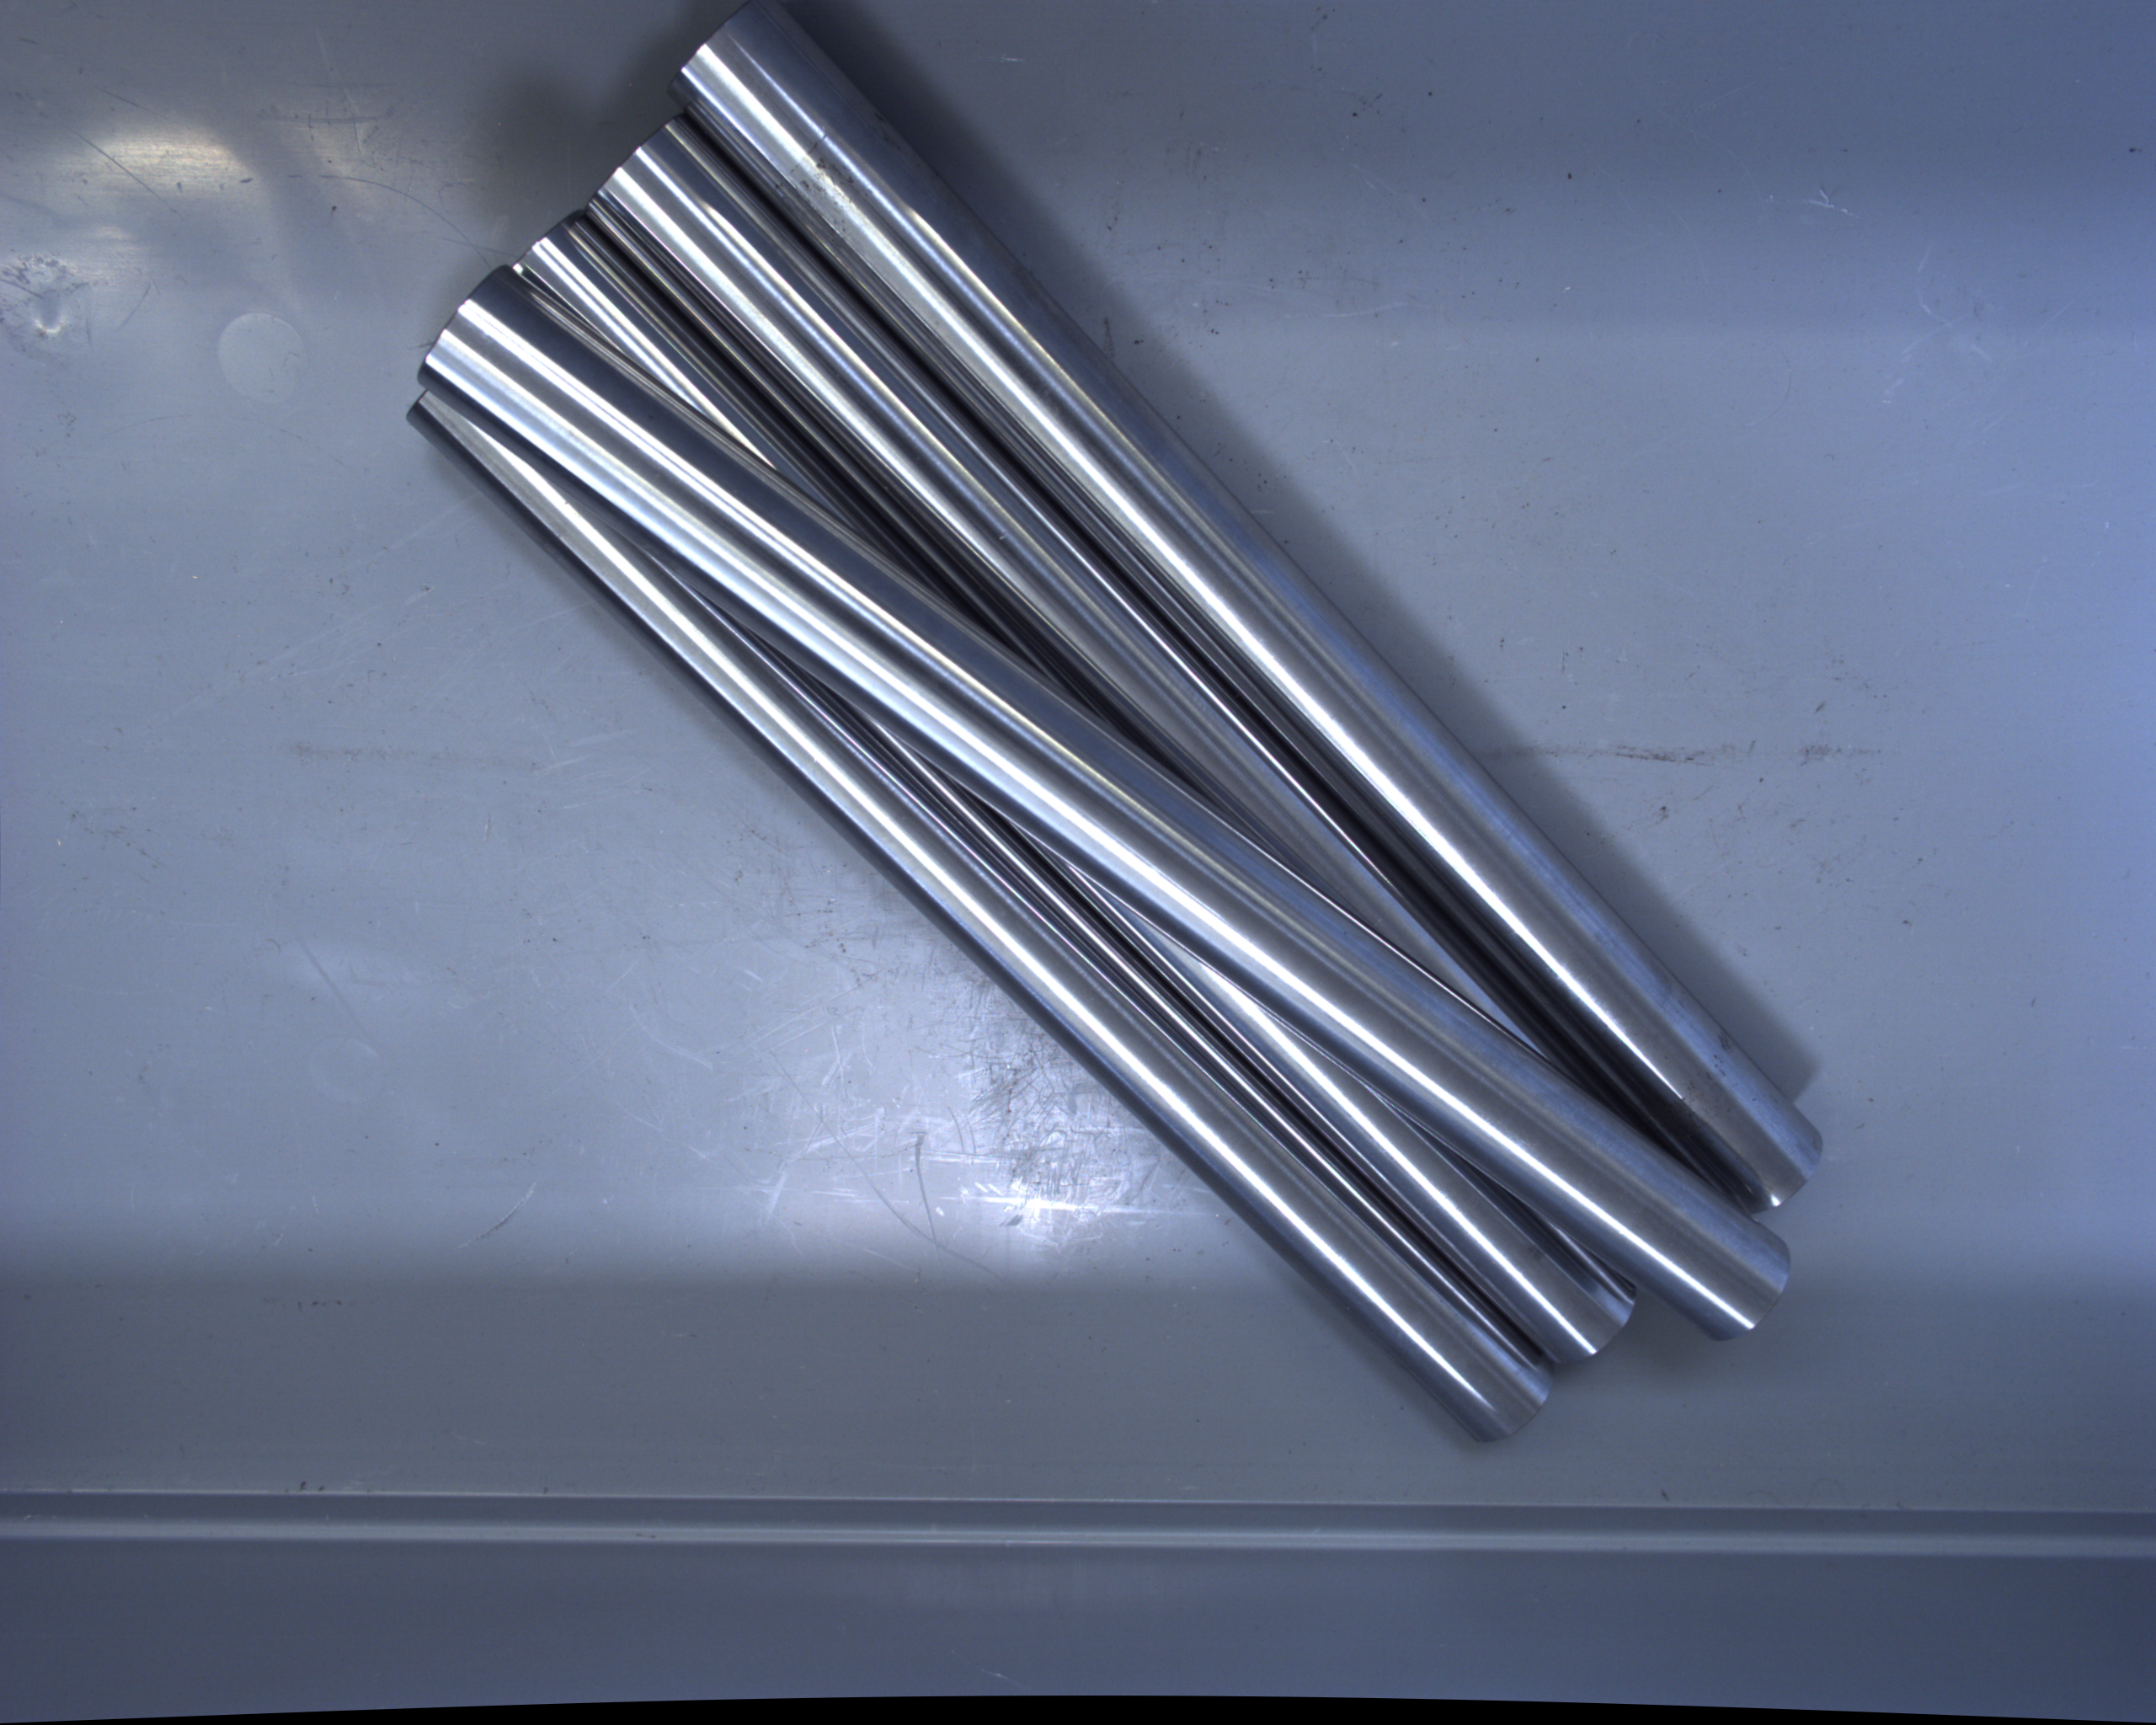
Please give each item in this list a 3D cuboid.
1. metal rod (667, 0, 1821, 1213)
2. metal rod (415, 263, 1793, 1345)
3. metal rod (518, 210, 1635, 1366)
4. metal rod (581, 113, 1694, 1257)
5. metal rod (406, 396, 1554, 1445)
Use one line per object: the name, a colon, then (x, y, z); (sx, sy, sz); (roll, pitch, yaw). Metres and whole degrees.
metal rod: (0.041, -0.038, 0.396); (0.025, 0.025, 0.300); (-41, 105, 14)
metal rod: (0.015, -0.002, 0.382); (0.301, 0.025, 0.025); (37, 106, -13)
metal rod: (0.006, -0.005, 0.408); (0.025, 0.025, 0.300); (-41, 105, 14)
metal rod: (0.025, -0.020, 0.403); (0.025, 0.025, 0.300); (-41, 105, 14)
metal rod: (-0.009, 0.014, 0.415); (0.025, 0.025, 0.300); (-41, 105, 14)
